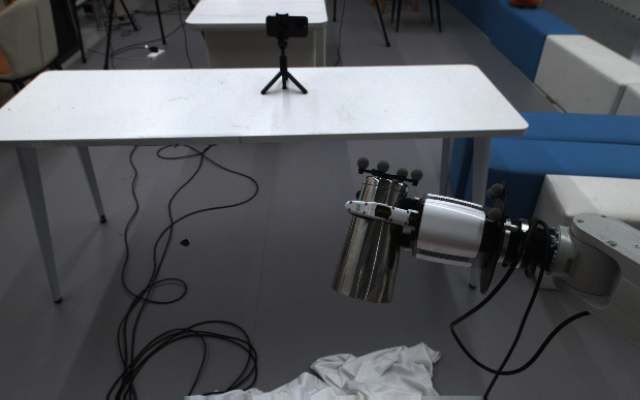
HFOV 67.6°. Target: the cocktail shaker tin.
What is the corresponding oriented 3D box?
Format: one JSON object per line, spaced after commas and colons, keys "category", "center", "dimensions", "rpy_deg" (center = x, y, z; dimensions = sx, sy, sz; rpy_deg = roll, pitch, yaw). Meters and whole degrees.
{"category": "cocktail shaker tin", "center": [0.083, 0.052, 0.711], "dimensions": [0.093, 0.170, 0.093], "rpy_deg": [13, 1, 0]}
